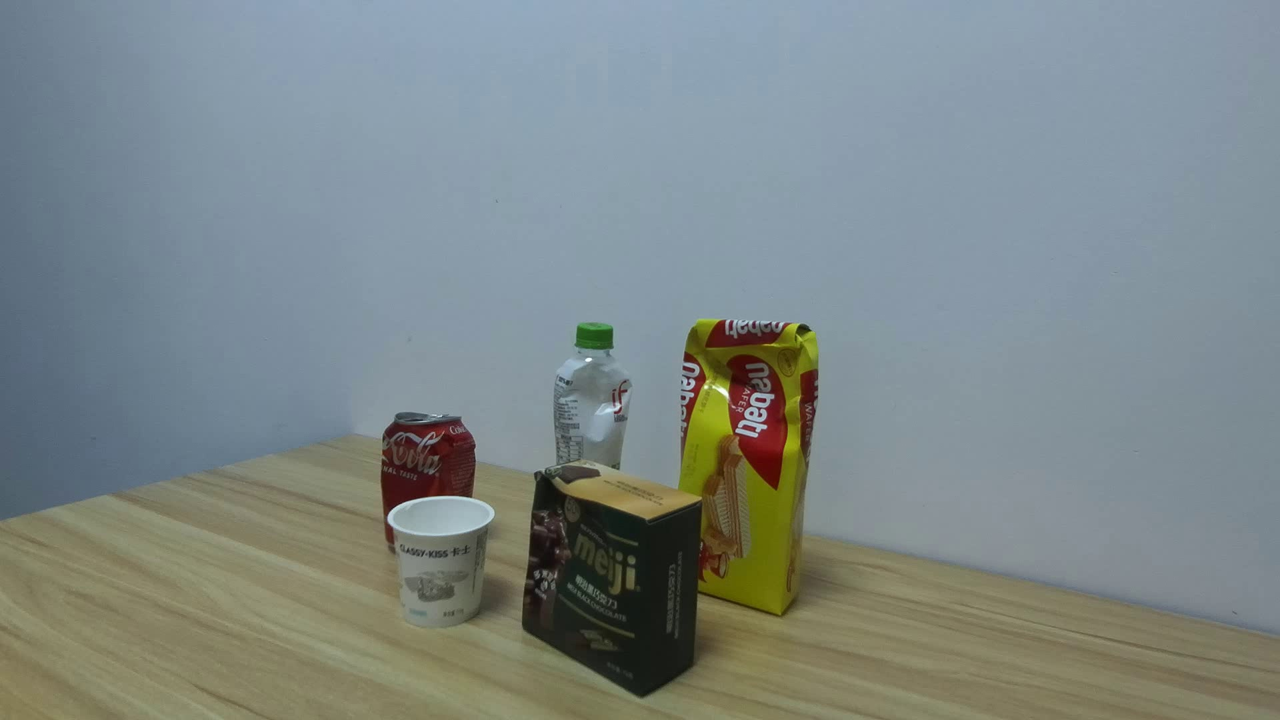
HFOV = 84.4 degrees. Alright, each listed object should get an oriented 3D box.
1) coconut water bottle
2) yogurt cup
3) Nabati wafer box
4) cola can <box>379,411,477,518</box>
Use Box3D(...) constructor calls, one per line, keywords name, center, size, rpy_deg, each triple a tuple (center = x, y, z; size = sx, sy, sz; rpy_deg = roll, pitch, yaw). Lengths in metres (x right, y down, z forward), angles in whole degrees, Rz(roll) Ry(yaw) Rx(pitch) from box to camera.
Box3D(name="coconut water bottle", center=(-0.042, 0.064, 0.601), size=(0.069, 0.186, 0.069), rpy_deg=(4, 6, 0))
Box3D(name="yogurt cup", center=(-0.135, 0.138, 0.483), size=(0.072, 0.068, 0.072), rpy_deg=(3, 9, 0))
Box3D(name="Nabati wafer box", center=(0.075, 0.074, 0.518), size=(0.113, 0.205, 0.043), rpy_deg=(6, 8, 29))
Box3D(name="cola can", center=(-0.173, 0.100, 0.582), size=(0.066, 0.112, 0.069), rpy_deg=(-6, 11, -42))
